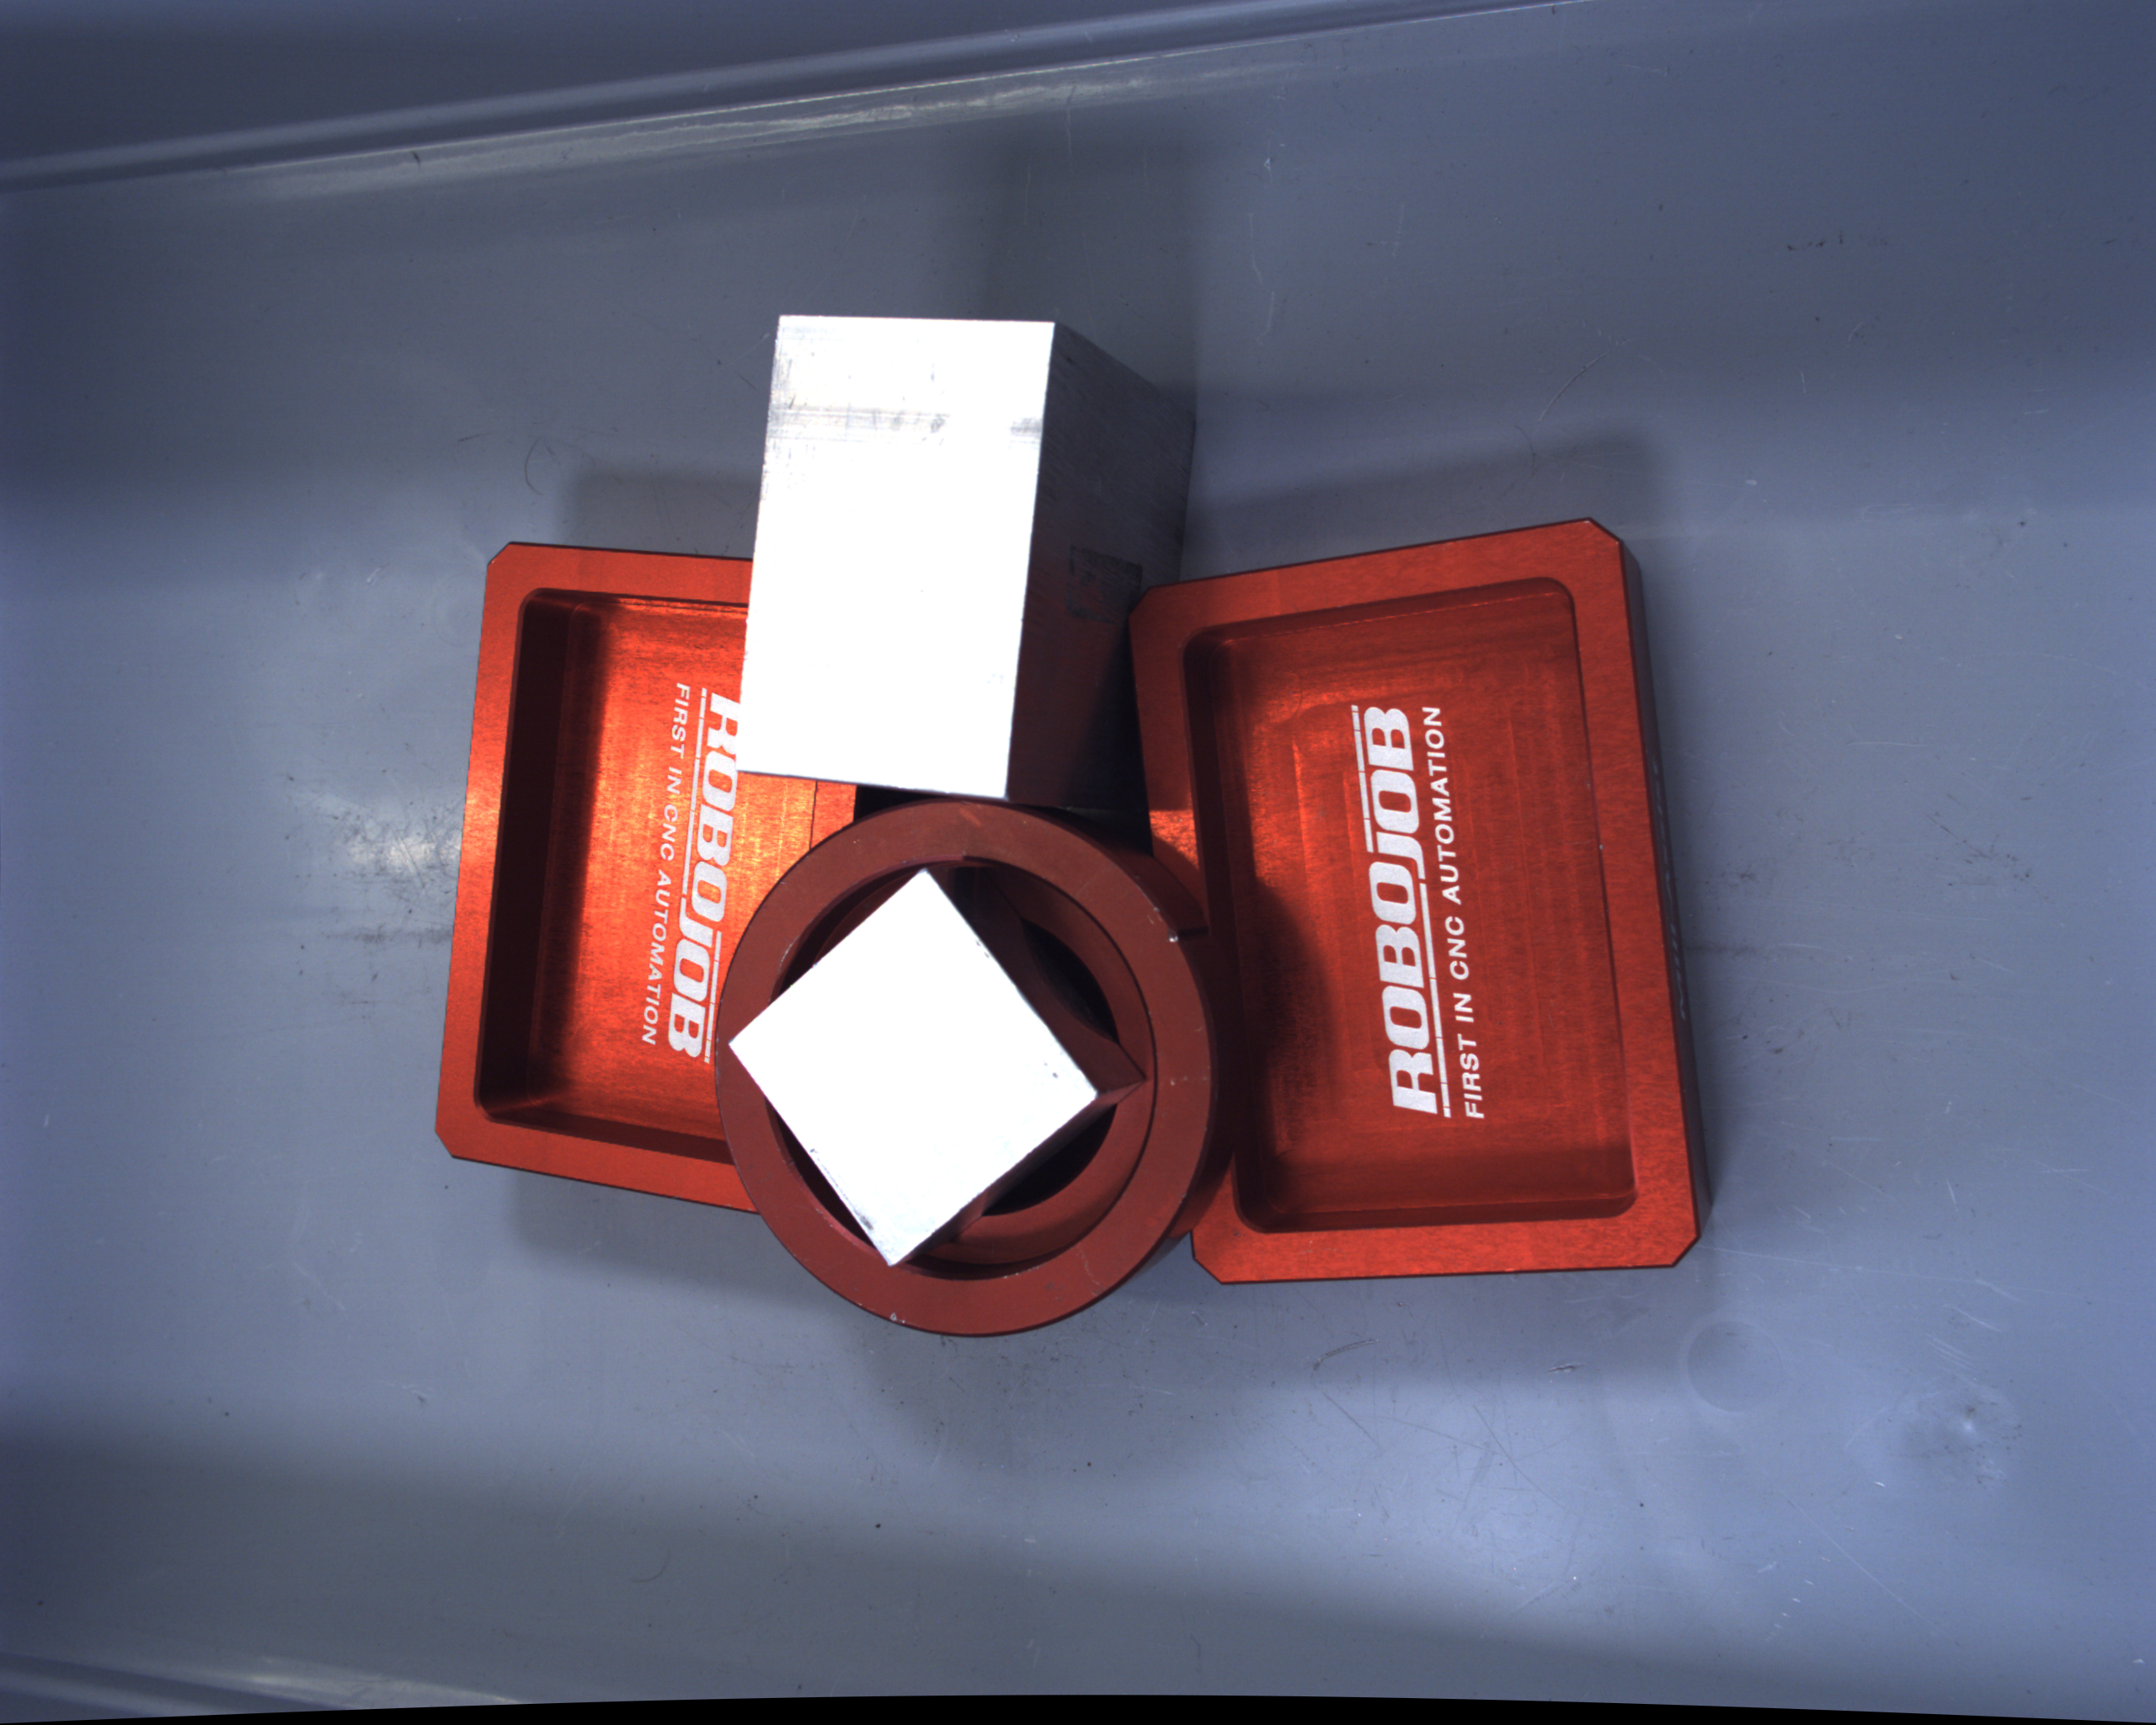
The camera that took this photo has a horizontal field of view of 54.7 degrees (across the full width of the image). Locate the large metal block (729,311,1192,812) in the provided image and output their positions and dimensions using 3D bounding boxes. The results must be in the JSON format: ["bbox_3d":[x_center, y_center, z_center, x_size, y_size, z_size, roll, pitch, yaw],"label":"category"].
[{"bbox_3d":[-0.018,-0.052,0.386,0.050,0.080,0.079,7,92,20],"label":"large metal block"}]

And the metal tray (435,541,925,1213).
[{"bbox_3d":[-0.082,0.002,0.434,0.090,0.030,0.129,7,92,19],"label":"metal tray"}]

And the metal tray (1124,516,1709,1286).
[{"bbox_3d":[0.062,0.009,0.384,0.090,0.030,0.129,-7,88,19],"label":"metal tray"}]

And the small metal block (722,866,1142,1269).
[{"bbox_3d":[-0.026,0.036,0.373,0.050,0.025,0.050,-41,77,15],"label":"small metal block"}]

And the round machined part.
[{"bbox_3d":[-0.015,0.037,0.395,0.098,0.042,0.097,0,90,19],"label":"round machined part"}]
